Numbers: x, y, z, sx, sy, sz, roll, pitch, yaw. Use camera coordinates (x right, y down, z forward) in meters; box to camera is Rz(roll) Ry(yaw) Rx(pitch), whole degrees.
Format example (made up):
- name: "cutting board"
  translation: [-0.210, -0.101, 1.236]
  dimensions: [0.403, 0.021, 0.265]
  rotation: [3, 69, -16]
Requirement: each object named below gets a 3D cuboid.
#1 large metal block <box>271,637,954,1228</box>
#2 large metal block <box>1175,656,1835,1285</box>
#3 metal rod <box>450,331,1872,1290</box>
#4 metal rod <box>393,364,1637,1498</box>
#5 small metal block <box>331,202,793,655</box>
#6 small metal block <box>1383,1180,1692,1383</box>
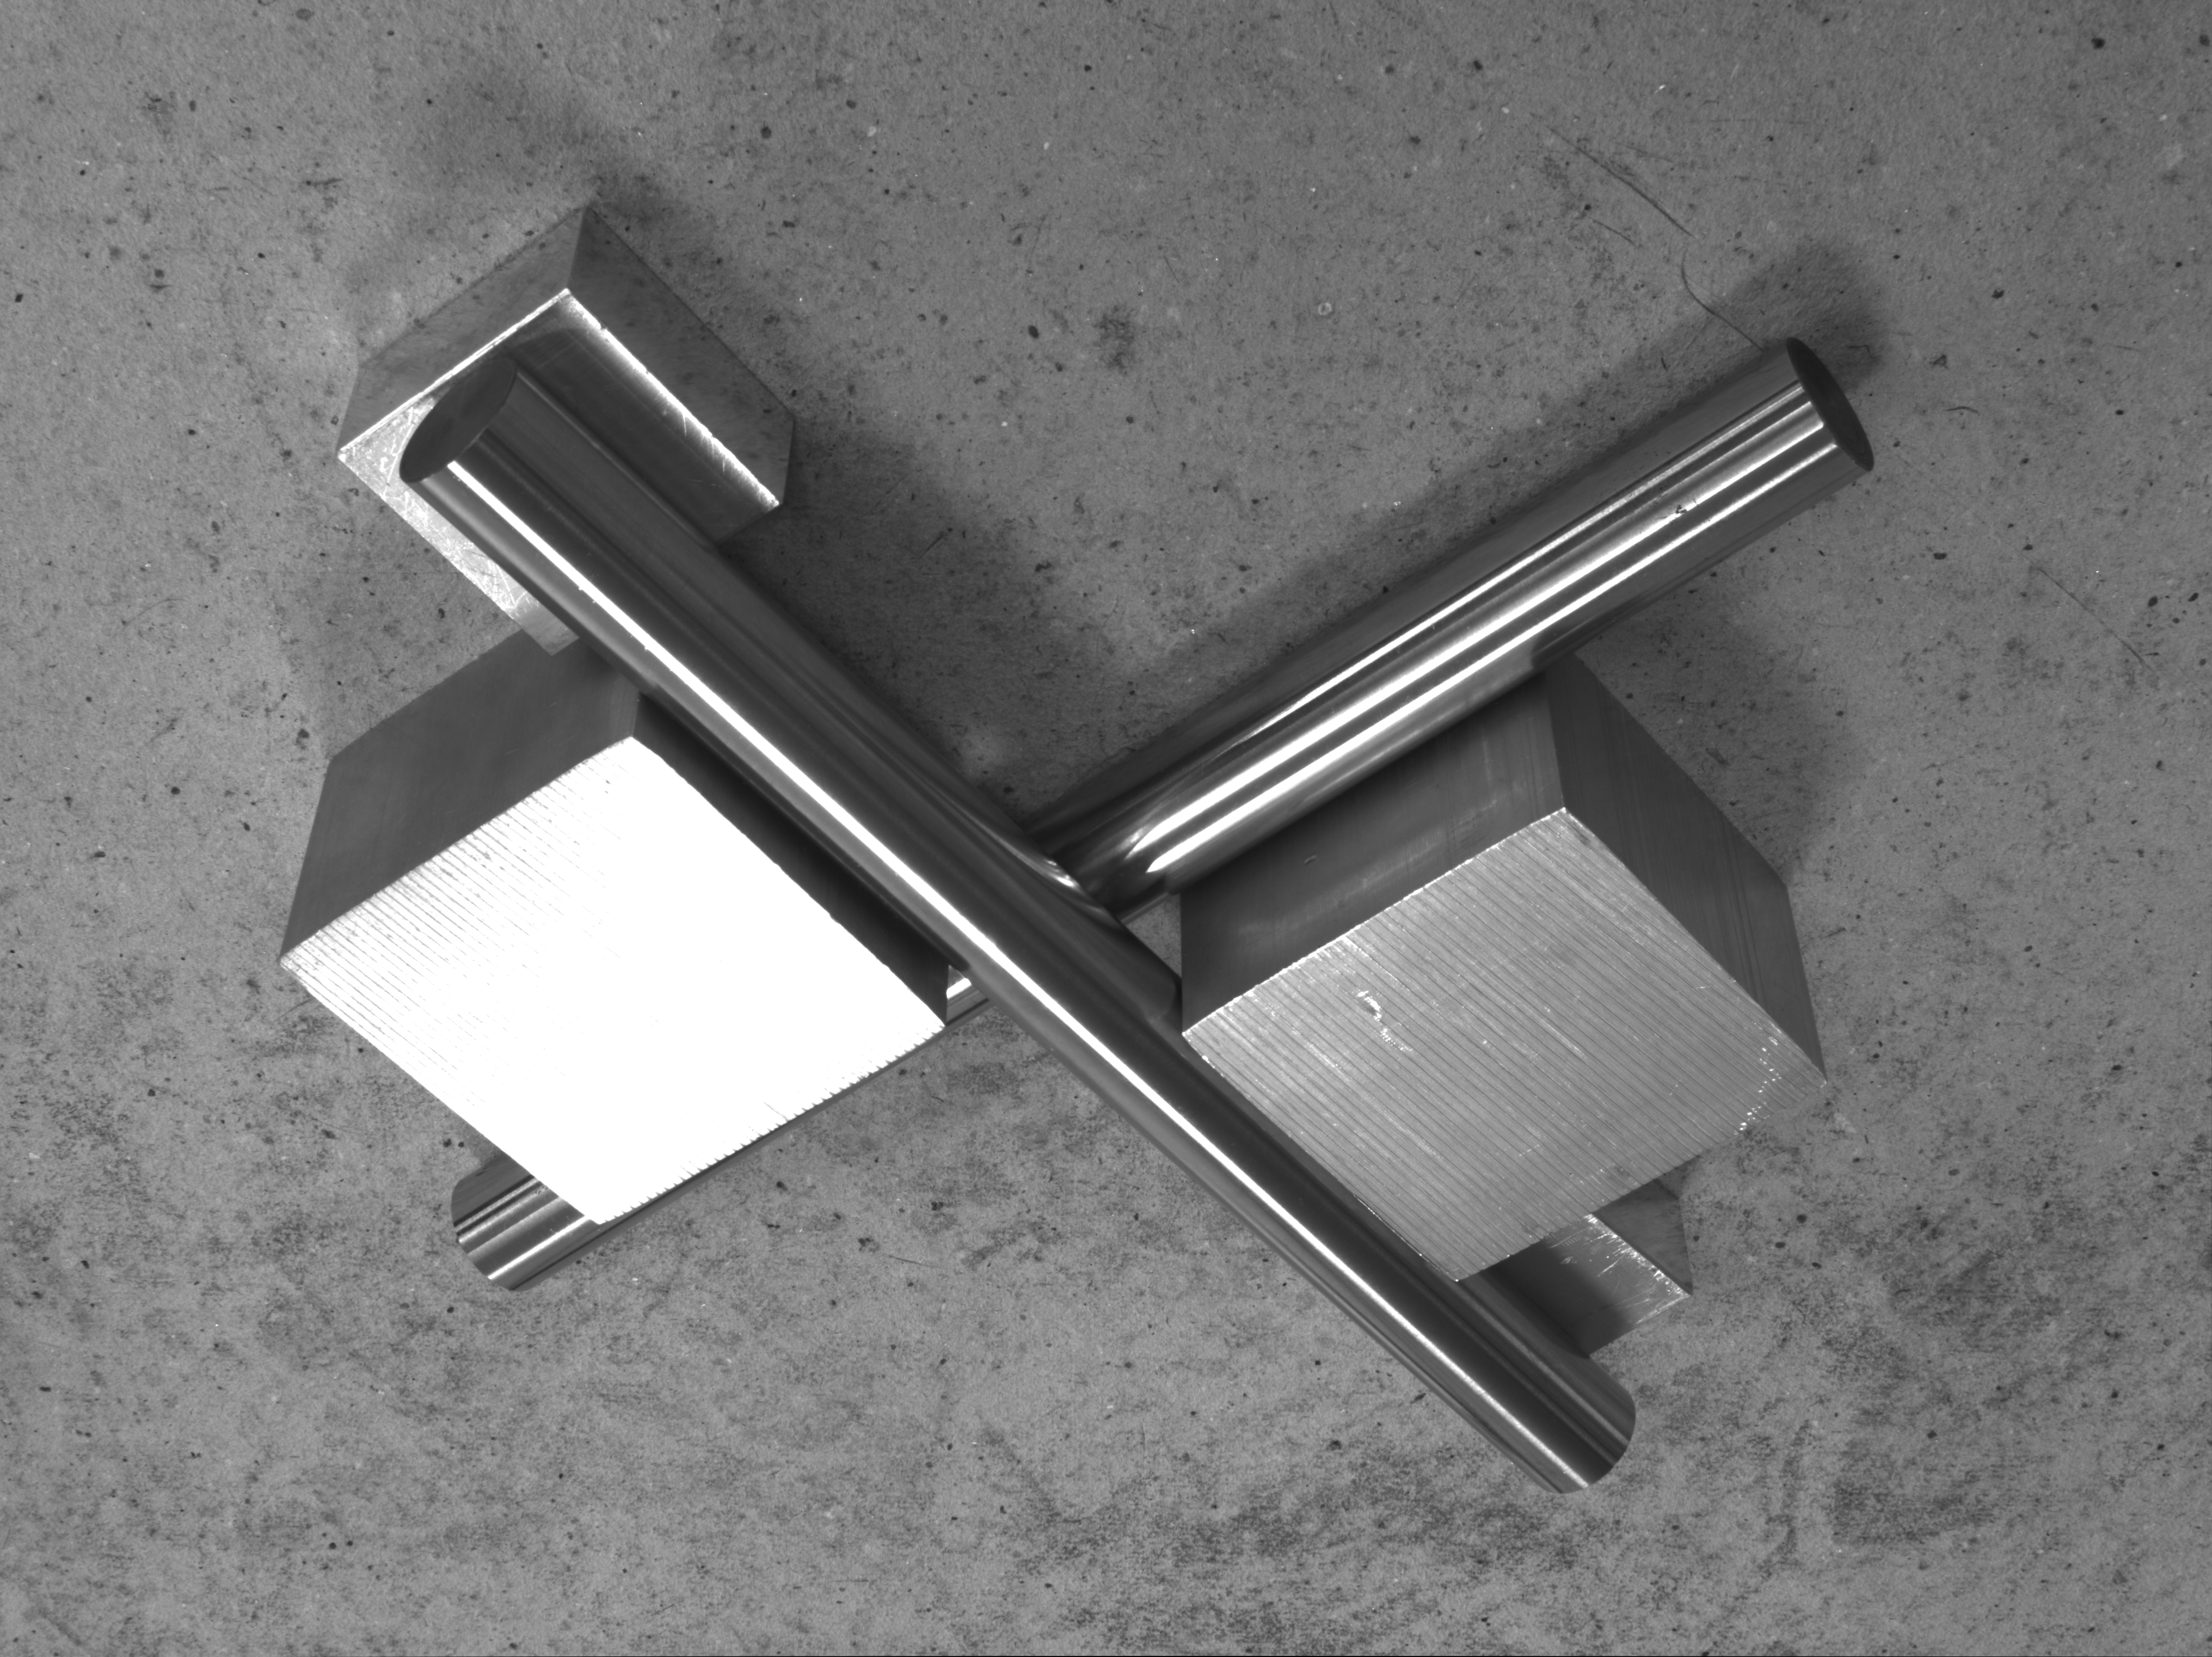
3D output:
- name: "large metal block"
  translation: [-0.082, 0.011, 0.631]
  dimensions: [0.080, 0.050, 0.080]
  rotation: [-30, 124, 23]
- name: "large metal block"
  translation: [0.068, 0.023, 0.643]
  dimensions: [0.080, 0.050, 0.080]
  rotation: [-32, 123, 24]
- name: "metal rod"
  translation: [-0.001, 0.004, 0.645]
  dimensions: [0.299, 0.025, 0.025]
  rotation: [-32, 123, 24]
- name: "metal rod"
  translation: [-0.004, 0.028, 0.630]
  dimensions: [0.025, 0.025, 0.301]
  rotation: [-32, 123, 24]
- name: "small metal block"
  translation: [-0.086, -0.063, 0.588]
  dimensions: [0.050, 0.025, 0.050]
  rotation: [-30, 124, 23]
- name: "small metal block"
  translation: [0.076, 0.079, 0.707]
  dimensions: [0.050, 0.025, 0.050]
  rotation: [-36, 121, 26]
